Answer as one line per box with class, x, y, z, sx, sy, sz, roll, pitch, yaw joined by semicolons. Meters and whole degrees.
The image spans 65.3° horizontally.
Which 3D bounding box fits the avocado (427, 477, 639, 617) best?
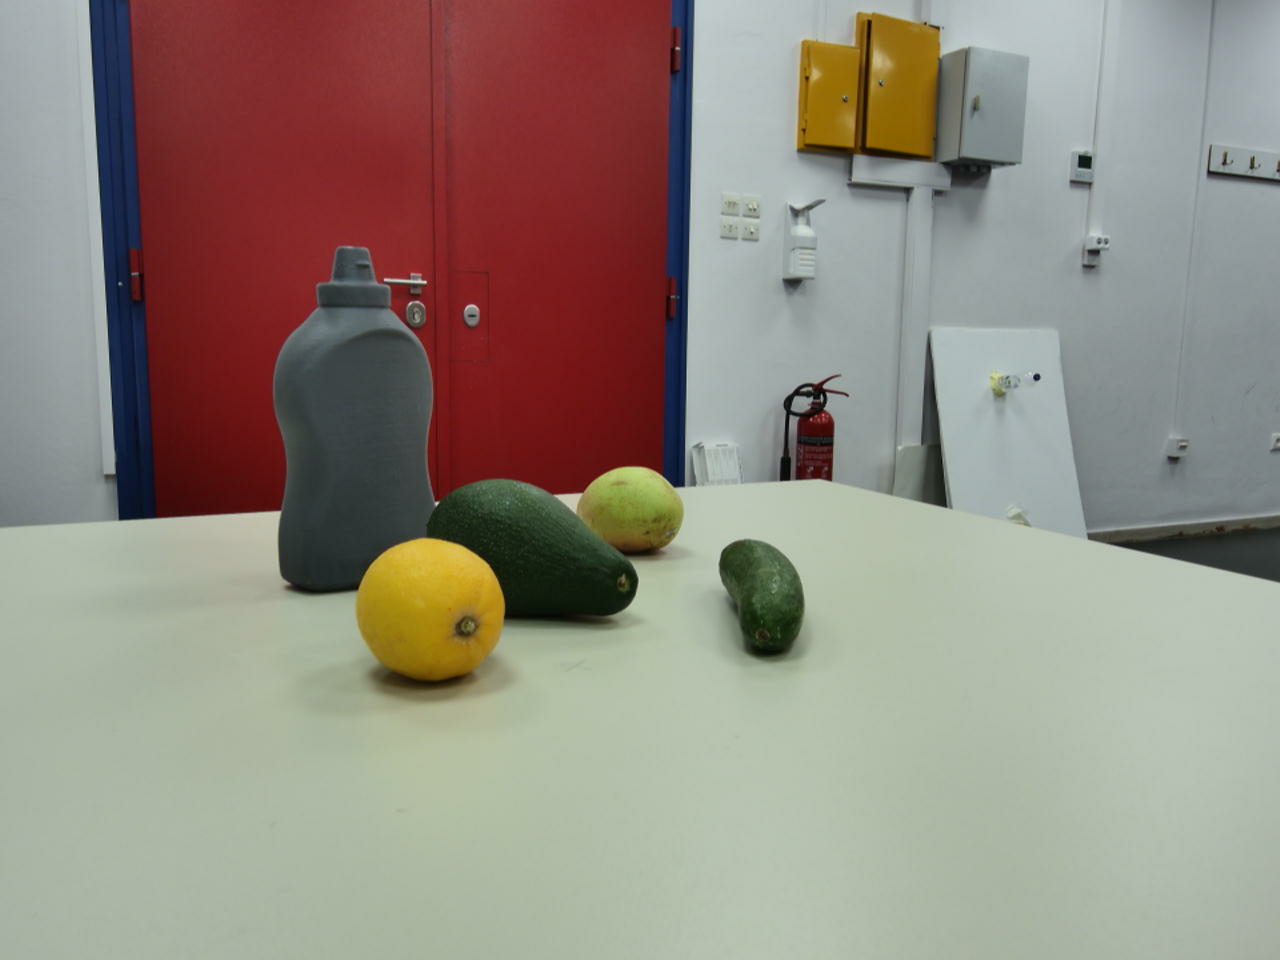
avocado;-0.059;0.035;0.517;0.110;0.071;0.072;6;8;42
